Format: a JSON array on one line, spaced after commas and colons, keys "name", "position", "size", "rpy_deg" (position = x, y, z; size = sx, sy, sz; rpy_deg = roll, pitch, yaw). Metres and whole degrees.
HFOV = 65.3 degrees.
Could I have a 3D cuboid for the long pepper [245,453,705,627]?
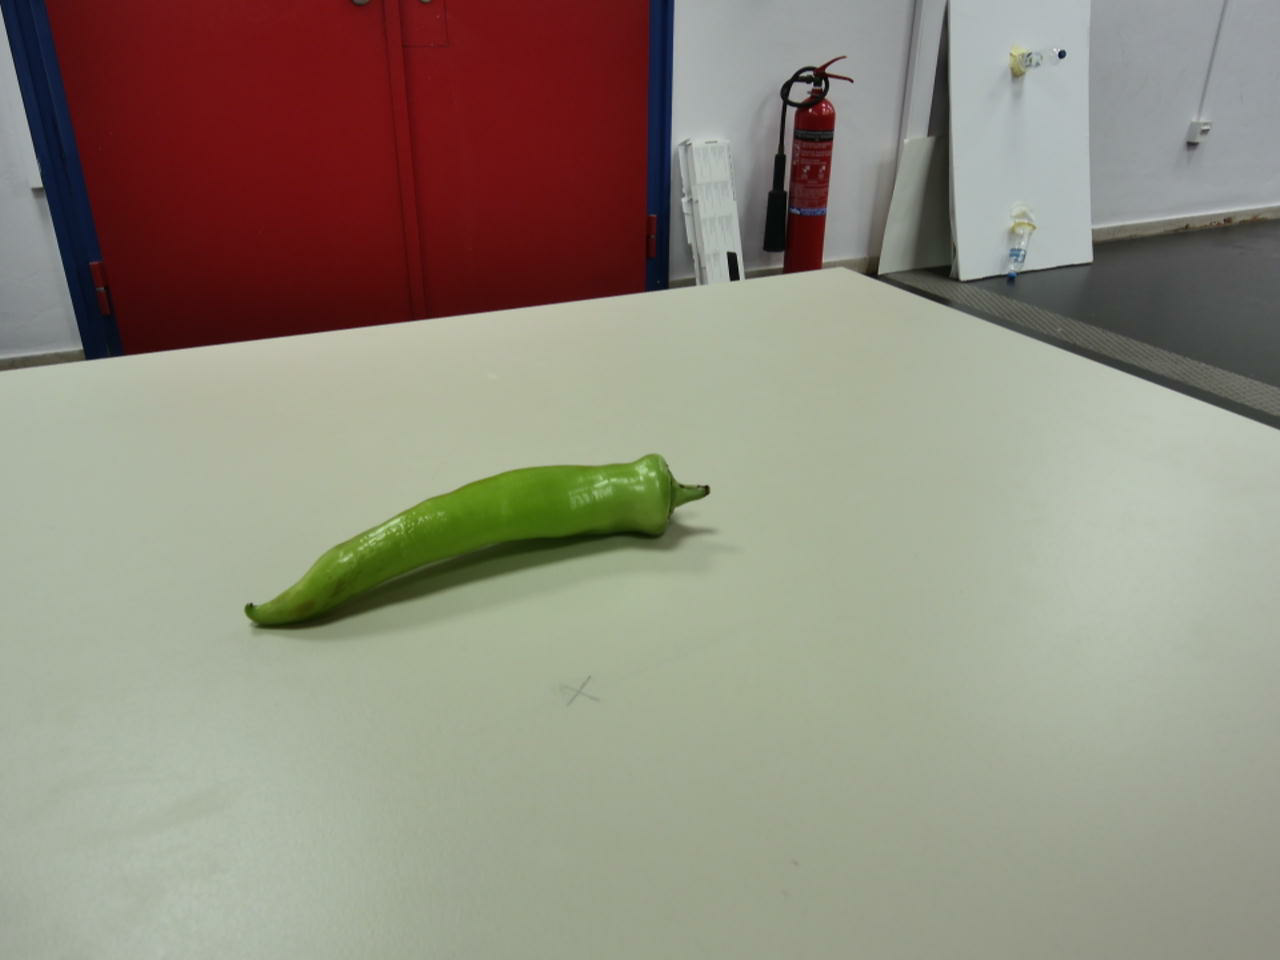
[{"name": "long pepper", "position": [-0.065, 0.018, 0.420], "size": [0.197, 0.038, 0.047], "rpy_deg": [-10, 26, -22]}]
